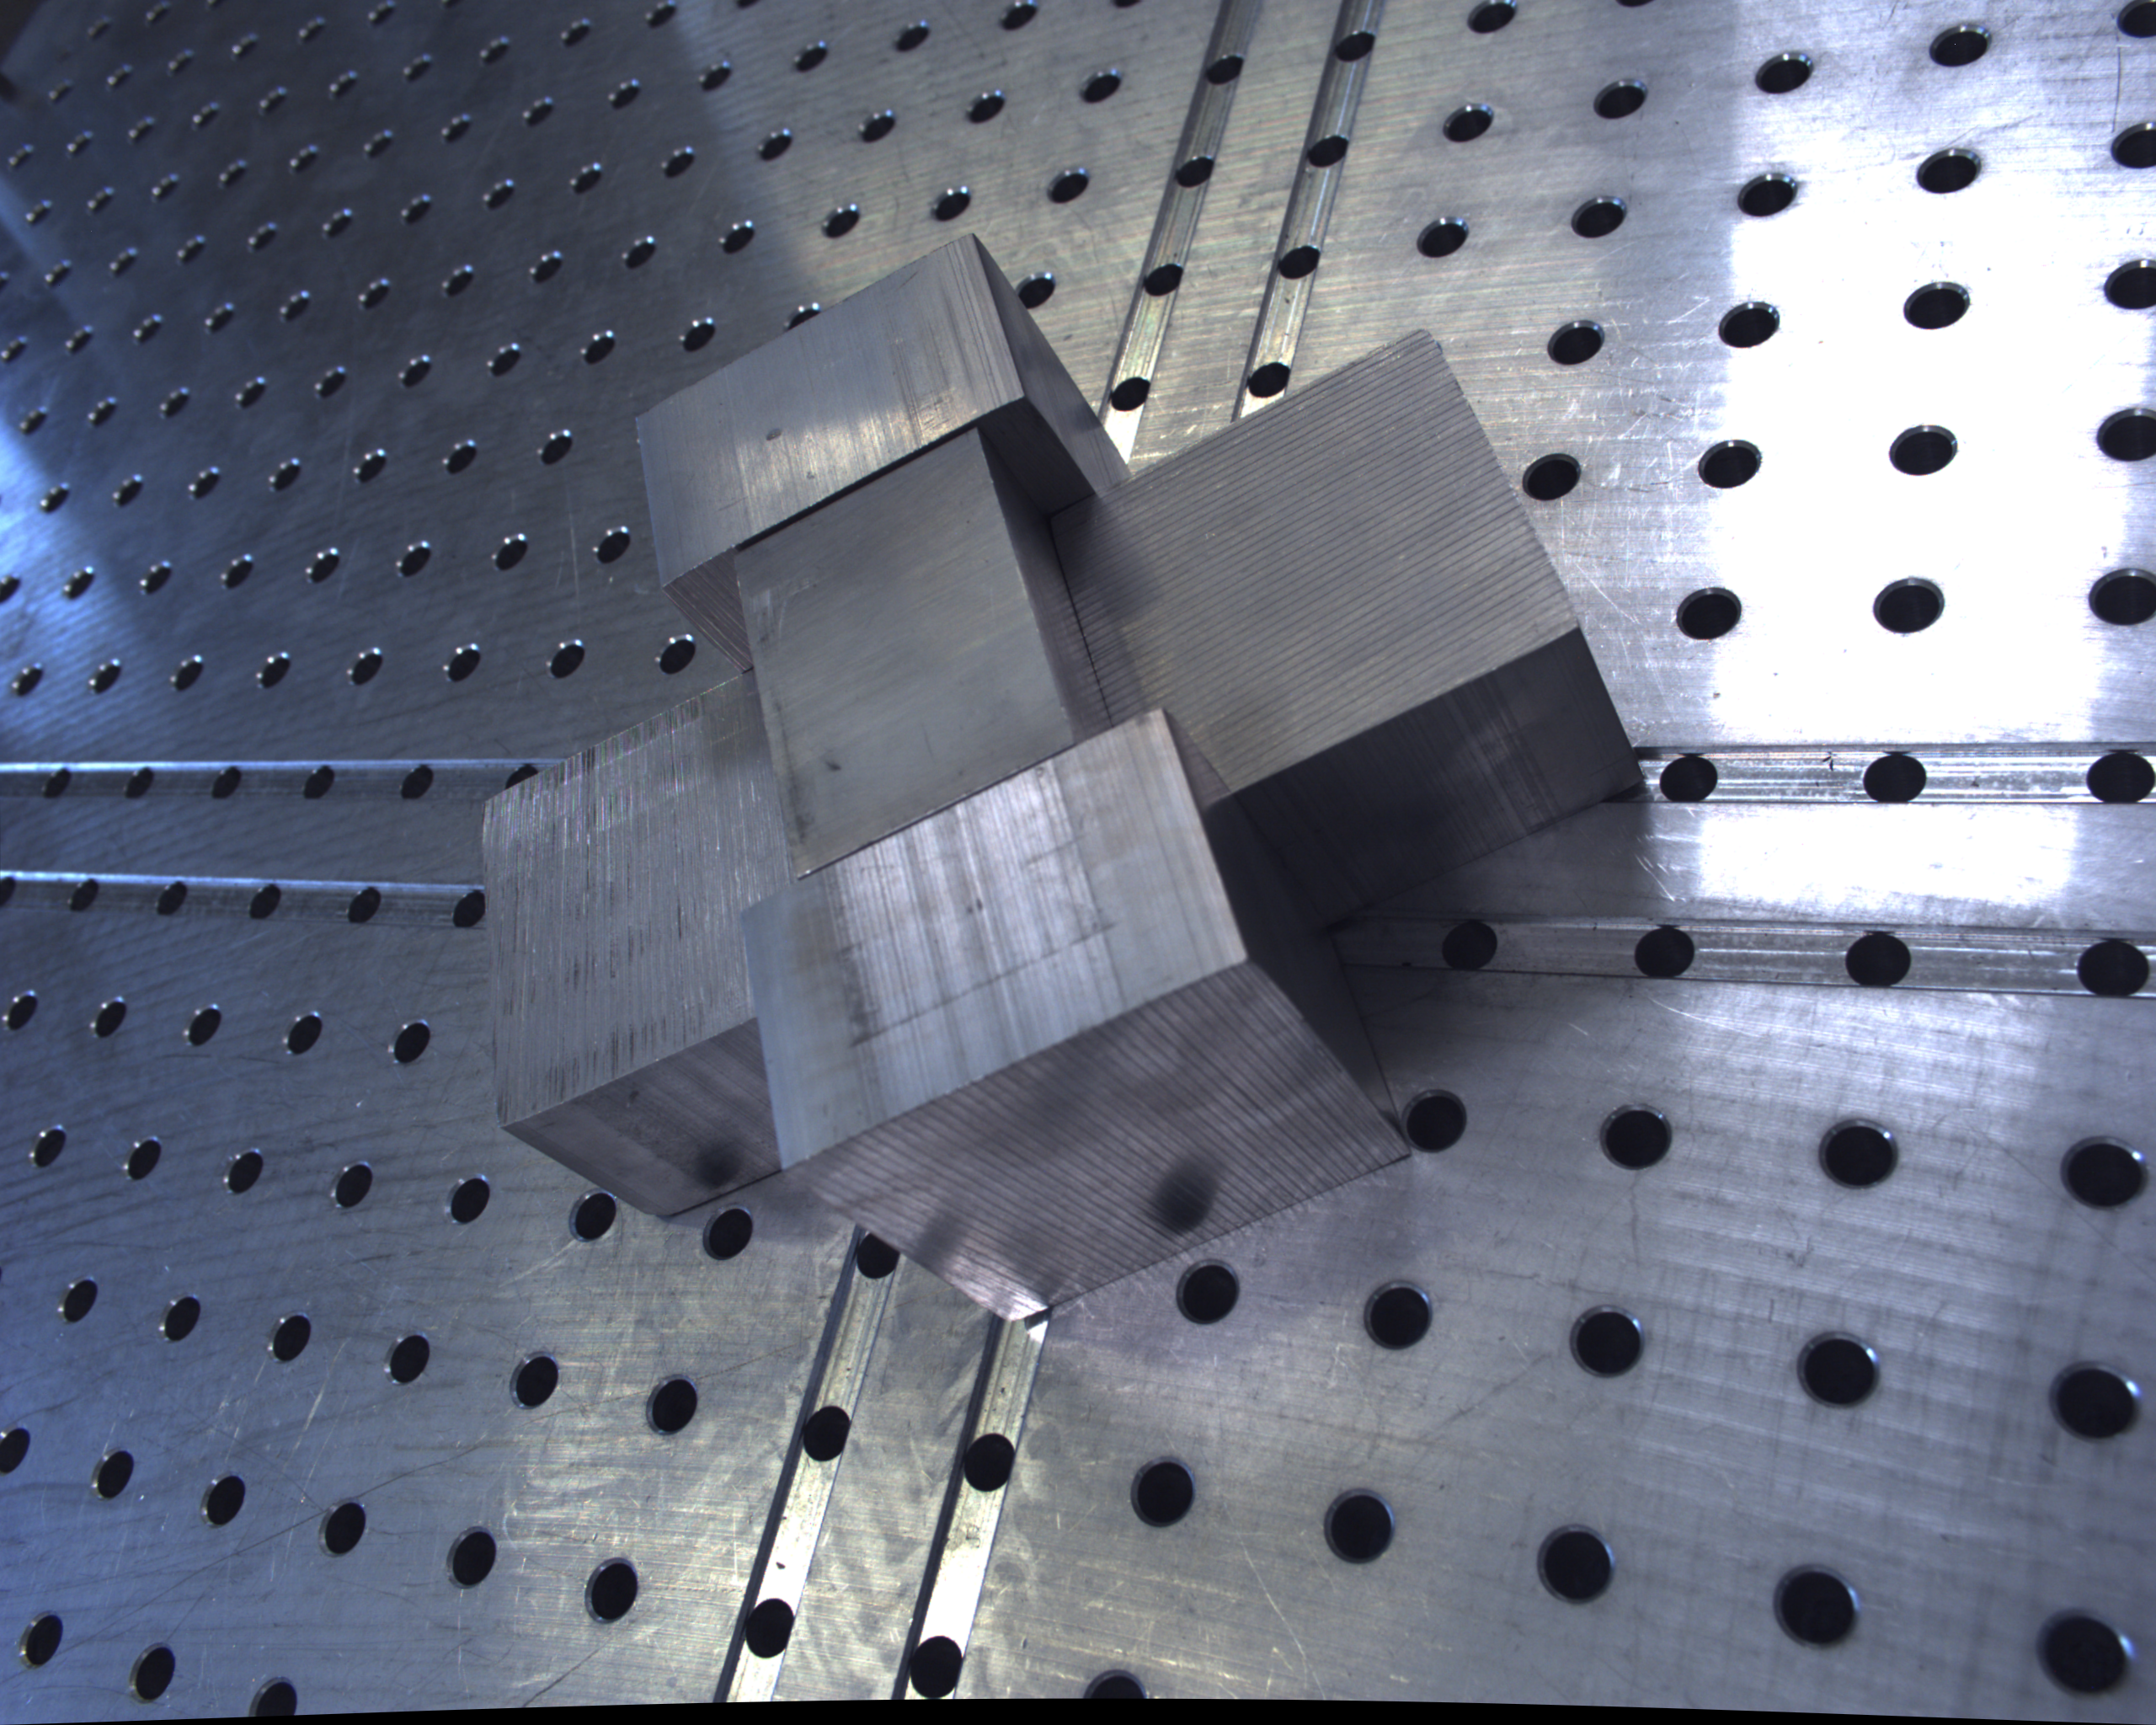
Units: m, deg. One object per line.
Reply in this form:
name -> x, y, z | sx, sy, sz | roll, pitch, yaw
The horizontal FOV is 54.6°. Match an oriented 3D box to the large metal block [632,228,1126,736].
large metal block -> -0.033, -0.070, 0.433 | 0.080, 0.080, 0.050 | -25, 52, 13

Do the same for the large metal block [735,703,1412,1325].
large metal block -> 0.001, 0.029, 0.355 | 0.080, 0.080, 0.050 | -25, 53, 12

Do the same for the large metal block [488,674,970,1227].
large metal block -> -0.069, 0.016, 0.421 | 0.080, 0.050, 0.080 | -24, 53, 14

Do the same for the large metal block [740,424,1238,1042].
large metal block -> -0.016, -0.020, 0.394 | 0.050, 0.080, 0.080 | -26, 53, 13

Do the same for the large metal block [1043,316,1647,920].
large metal block -> 0.049, -0.042, 0.392 | 0.080, 0.050, 0.080 | -26, 55, 12
